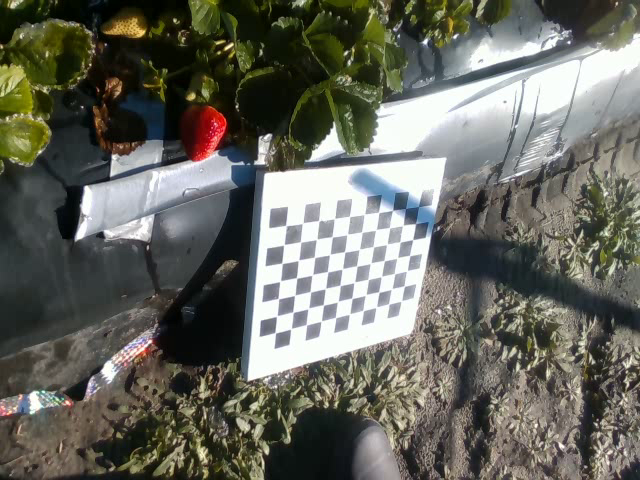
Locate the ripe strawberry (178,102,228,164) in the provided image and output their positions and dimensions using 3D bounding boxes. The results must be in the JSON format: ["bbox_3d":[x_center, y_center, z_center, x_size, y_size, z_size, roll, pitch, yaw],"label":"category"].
[{"bbox_3d":[-0.123,-0.106,0.684,0.057,0.065,0.061,-21,-34,30],"label":"ripe strawberry"}]
